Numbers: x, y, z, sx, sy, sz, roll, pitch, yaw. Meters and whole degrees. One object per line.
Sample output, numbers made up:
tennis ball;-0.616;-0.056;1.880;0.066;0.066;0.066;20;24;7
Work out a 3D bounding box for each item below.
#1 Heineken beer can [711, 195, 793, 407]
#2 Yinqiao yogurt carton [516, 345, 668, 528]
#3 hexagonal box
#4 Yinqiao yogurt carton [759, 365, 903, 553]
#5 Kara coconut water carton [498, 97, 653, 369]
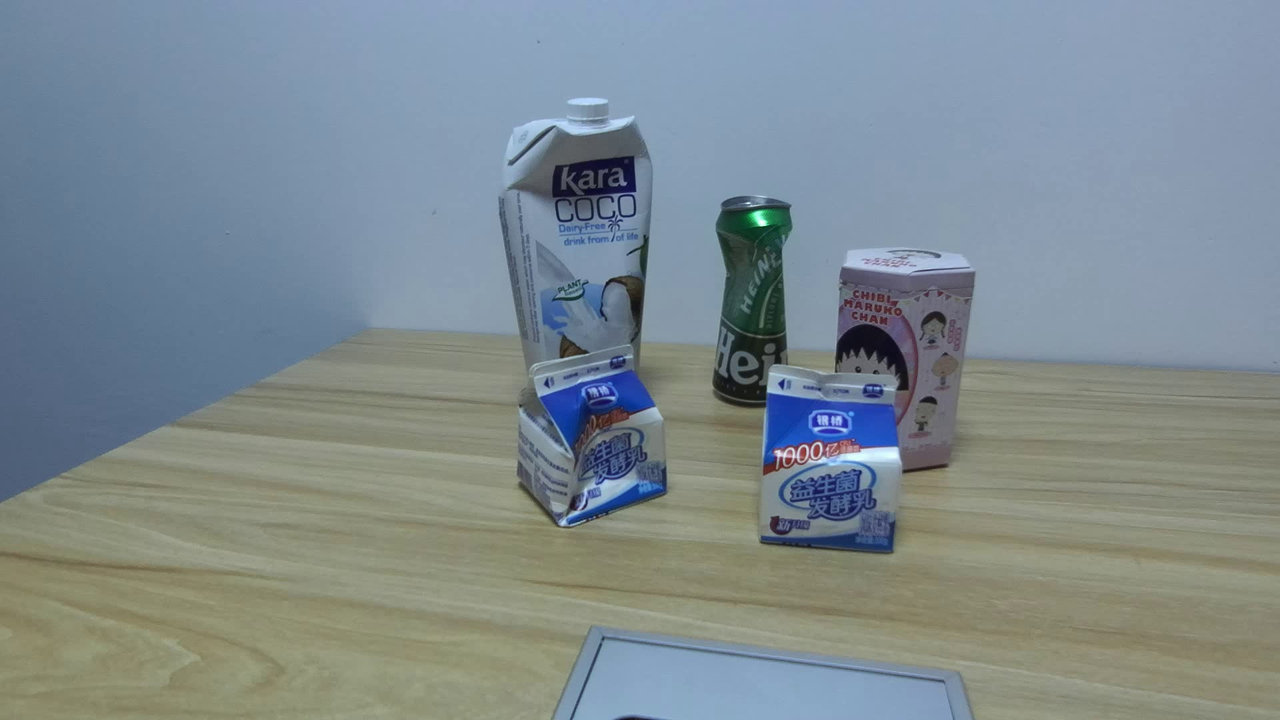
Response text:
Heineken beer can;0.092;-0.046;0.576;0.066;0.164;0.078;7;19;25
Yinqiao yogurt carton;-0.033;0.039;0.434;0.078;0.094;0.070;-14;27;-30
hexagonal box;0.173;-0.002;0.481;0.091;0.136;0.084;18;27;41
Yinqiao yogurt carton;0.106;0.047;0.400;0.075;0.092;0.074;3;20;8
Kara coconut water carton;-0.045;-0.072;0.537;0.115;0.238;0.069;-12;23;-33
